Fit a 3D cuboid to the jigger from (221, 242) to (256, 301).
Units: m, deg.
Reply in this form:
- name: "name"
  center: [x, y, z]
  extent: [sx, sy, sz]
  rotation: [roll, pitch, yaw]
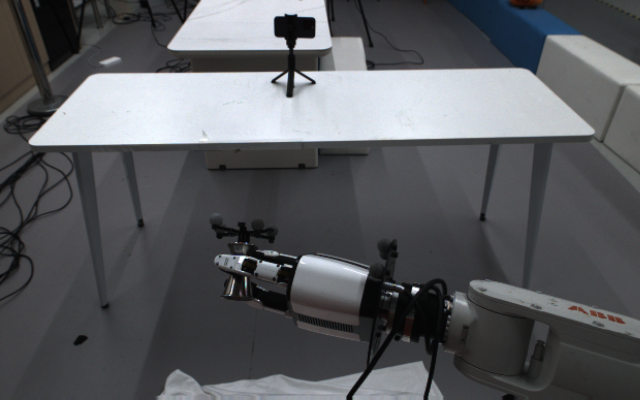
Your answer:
- name: "jigger"
  center: [-0.102, 0.090, 0.615]
  extent: [0.043, 0.043, 0.071]
  rotation: [3, 72, 1]
